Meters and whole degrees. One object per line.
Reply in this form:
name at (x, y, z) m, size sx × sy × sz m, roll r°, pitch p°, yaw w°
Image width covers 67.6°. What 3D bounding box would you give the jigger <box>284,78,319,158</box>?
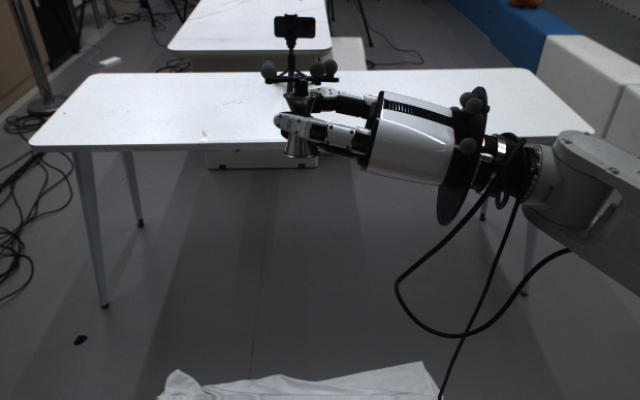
jigger at (-0.022, -0.085, 0.552) m, size 0.043 × 0.071 × 0.043 m, roll 0°, pitch 21°, yaw 0°
